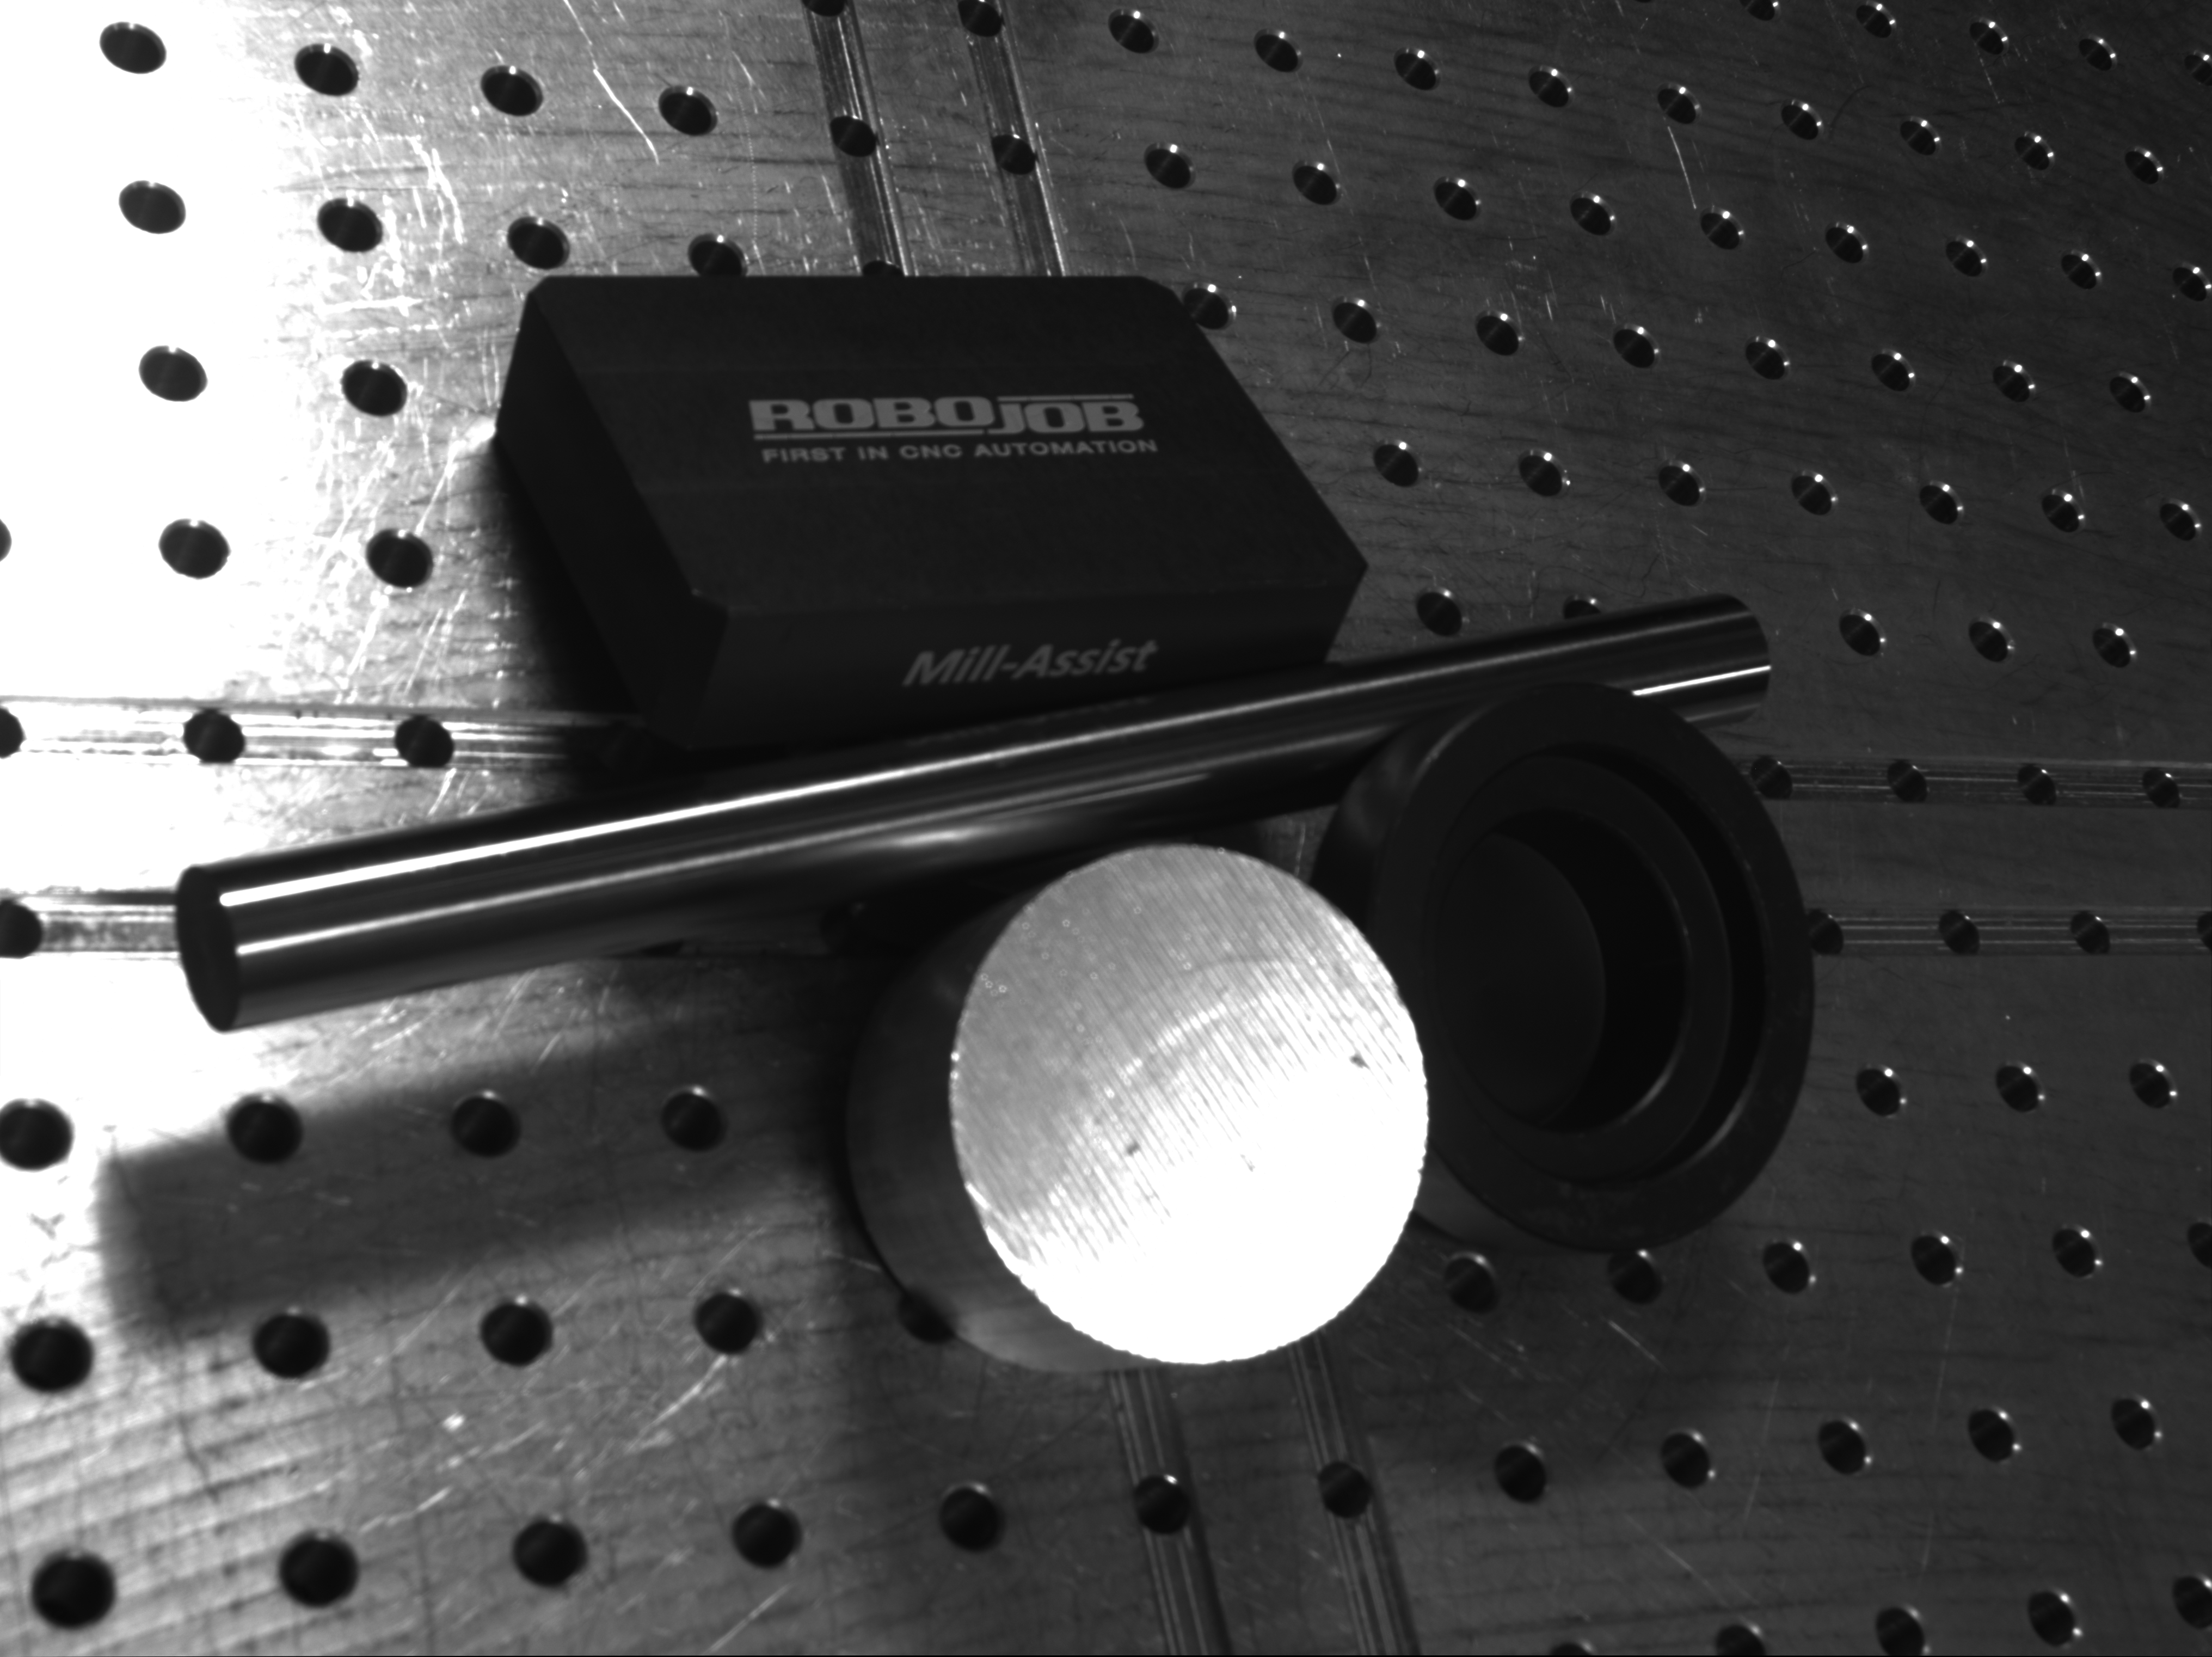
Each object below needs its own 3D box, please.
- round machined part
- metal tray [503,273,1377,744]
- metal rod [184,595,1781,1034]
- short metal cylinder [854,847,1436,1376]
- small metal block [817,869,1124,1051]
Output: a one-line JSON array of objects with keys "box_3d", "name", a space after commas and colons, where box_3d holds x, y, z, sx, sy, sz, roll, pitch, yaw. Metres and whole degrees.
[{"box_3d": [0.076, 0.025, 0.642, 0.098, 0.042, 0.098, 5, 81, -31], "name": "round machined part"}, {"box_3d": [-0.029, -0.059, 0.642, 0.130, 0.030, 0.090, -5, 45, -31], "name": "metal tray"}, {"box_3d": [-0.005, -0.007, 0.612, 0.301, 0.025, 0.025, -11, 67, -33], "name": "metal rod"}, {"box_3d": [0.006, 0.047, 0.586, 0.080, 0.050, 0.080, 4, 78, -22], "name": "short metal cylinder"}, {"box_3d": [-0.020, 0.016, 0.633, 0.050, 0.025, 0.050, 17, 55, -19], "name": "small metal block"}]
